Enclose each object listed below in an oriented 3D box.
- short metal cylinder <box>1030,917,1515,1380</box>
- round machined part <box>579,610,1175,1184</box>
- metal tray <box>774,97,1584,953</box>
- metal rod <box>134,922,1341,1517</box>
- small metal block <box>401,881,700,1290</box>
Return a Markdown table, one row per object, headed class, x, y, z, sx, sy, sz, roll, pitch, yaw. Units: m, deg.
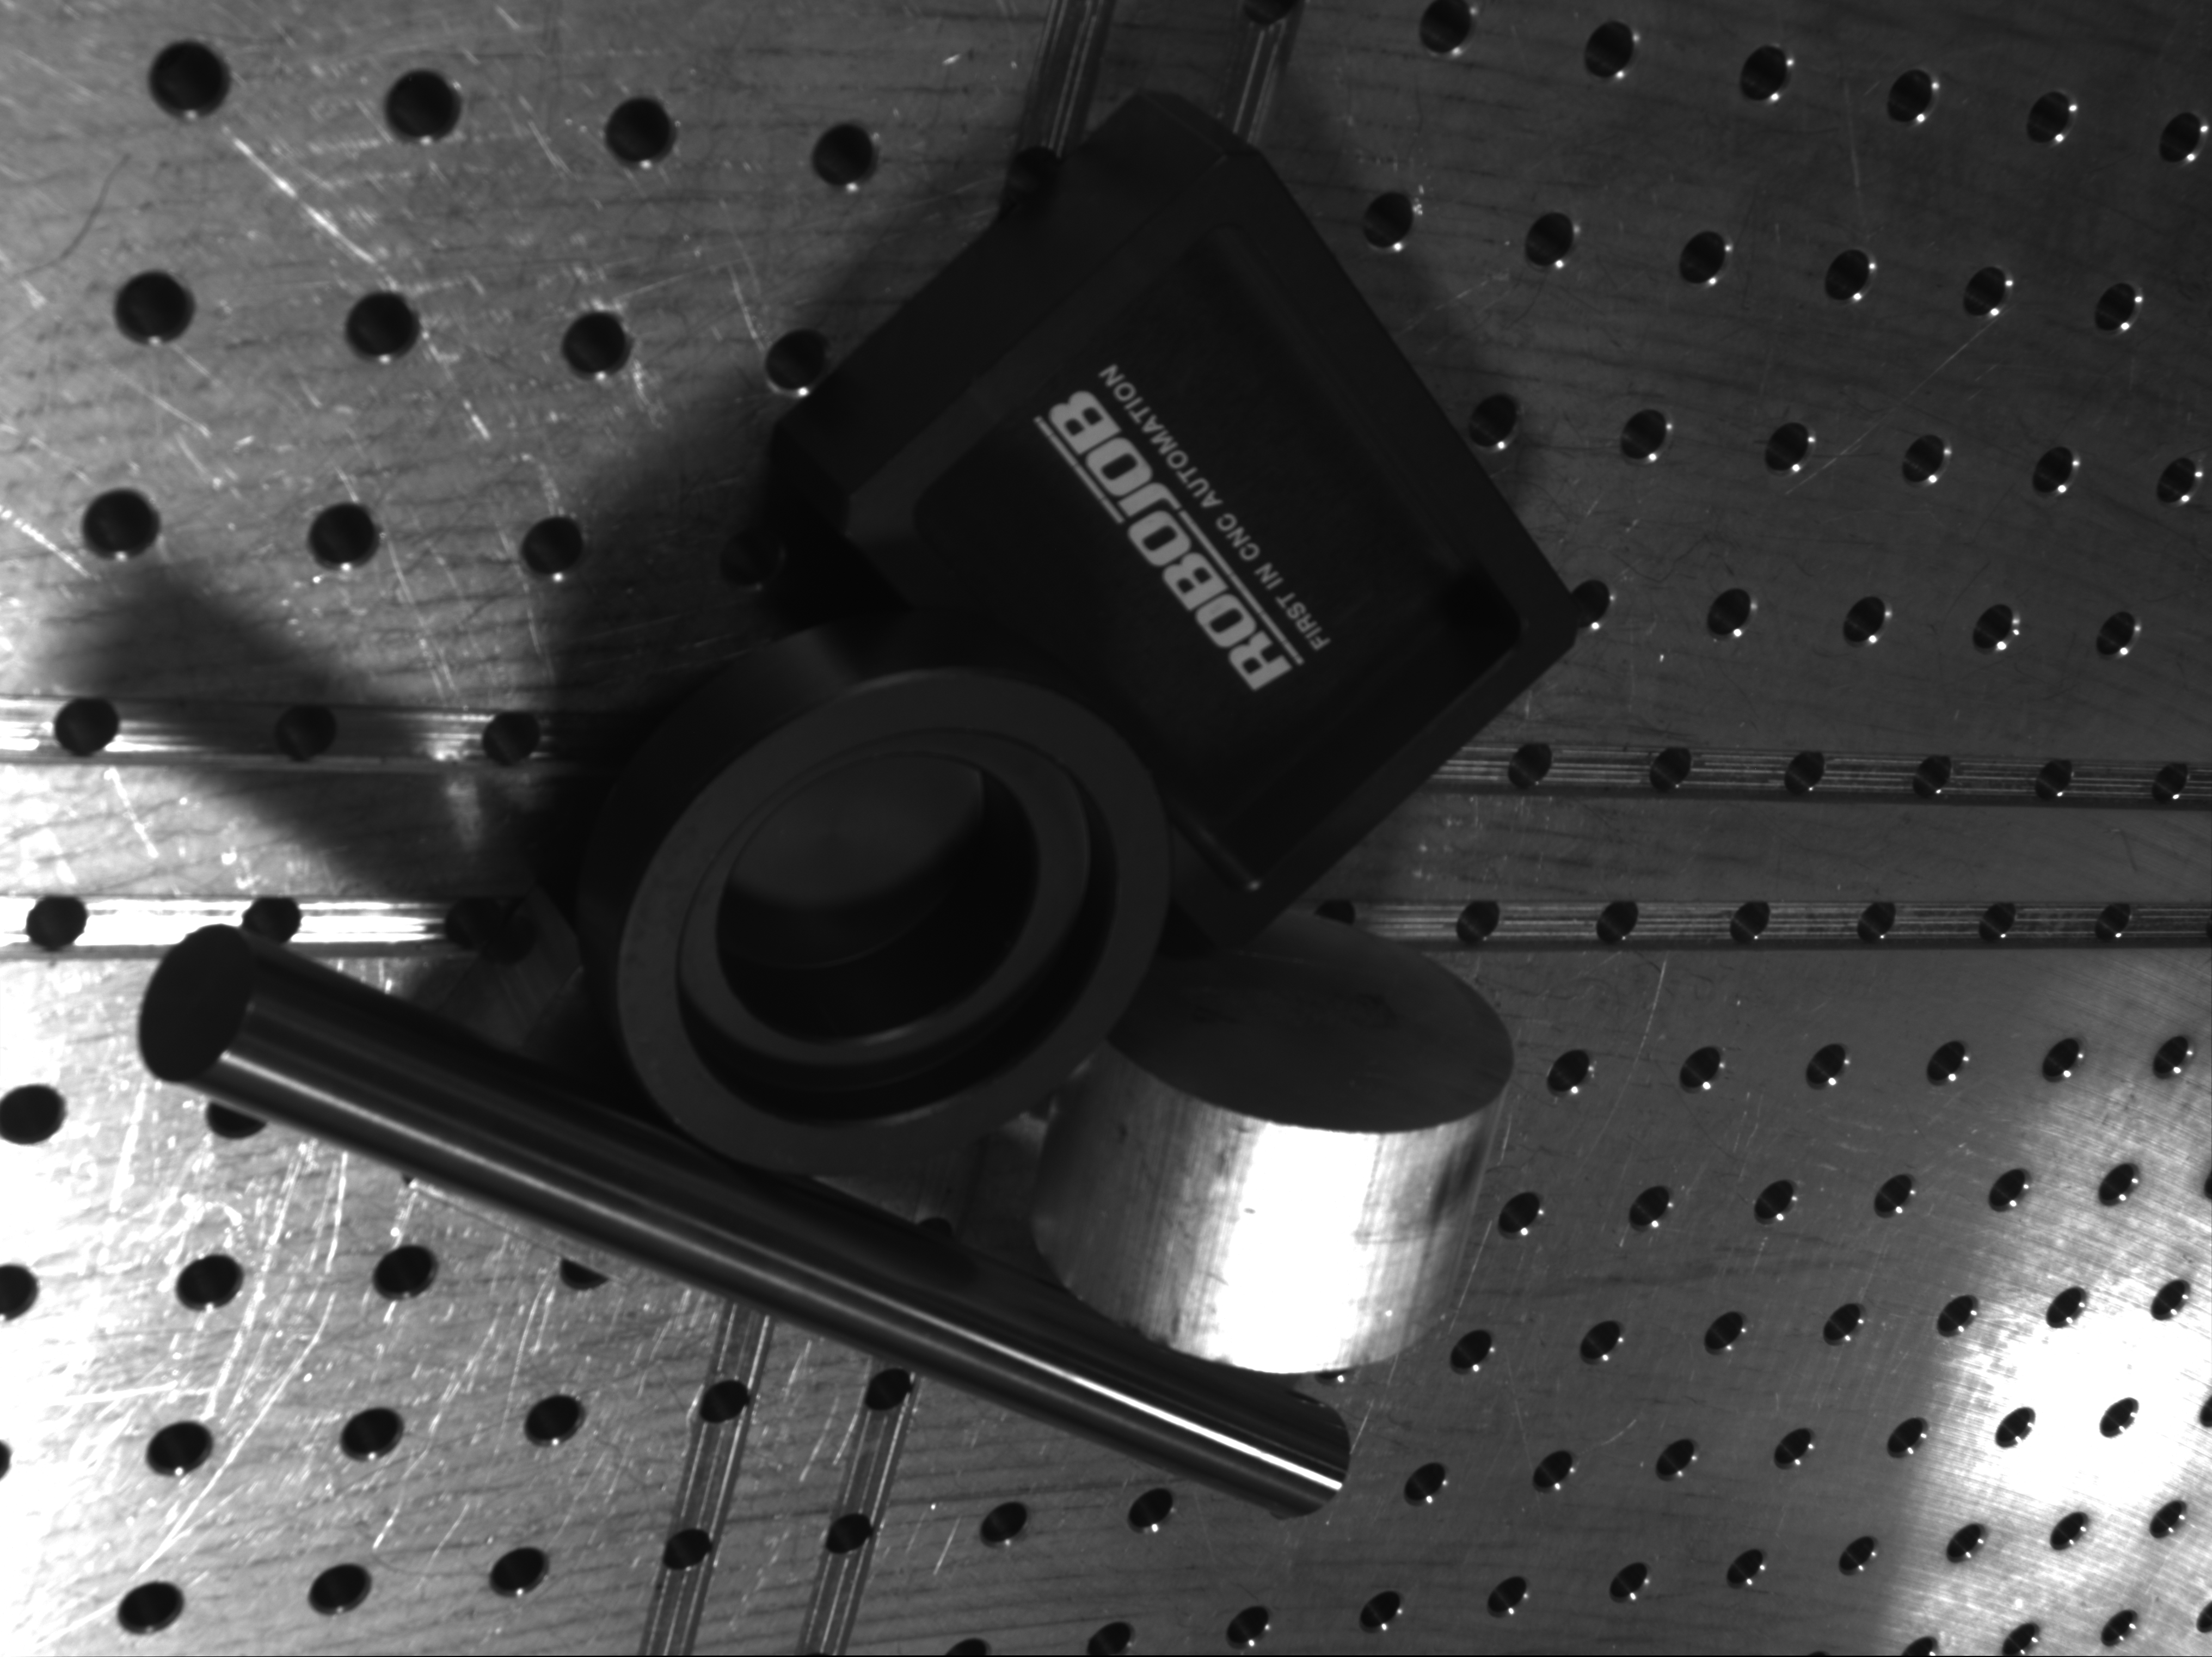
| class | x | y | z | sx | sy | sz | roll | pitch | yaw |
| --- | --- | --- | --- | --- | --- | --- | --- | --- | --- |
| short metal cylinder | 0.030 | 0.056 | 0.669 | 0.080 | 0.080 | 0.050 | -4 | 120 | -28 |
| round machined part | -0.041 | 0.007 | 0.613 | 0.098 | 0.042 | 0.098 | -13 | 124 | -21 |
| metal tray | 0.016 | -0.049 | 0.629 | 0.090 | 0.030 | 0.130 | -43 | 130 | -1 |
| metal rod | -0.048 | 0.078 | 0.648 | 0.025 | 0.025 | 0.301 | -51 | 138 | 7 |
| small metal block | -0.090 | 0.045 | 0.629 | 0.050 | 0.025 | 0.050 | 33 | 99 | -40 |
